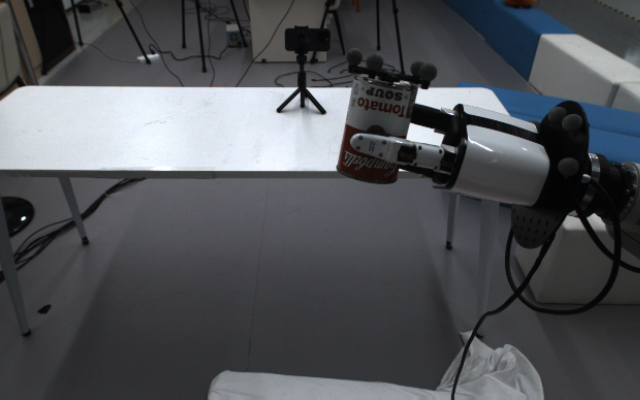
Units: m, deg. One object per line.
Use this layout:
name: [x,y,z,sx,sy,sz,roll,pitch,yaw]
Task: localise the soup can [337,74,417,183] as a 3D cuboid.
soup can: [0.061,-0.077,0.512,0.067,0.101,0.067,9,20,-3]
